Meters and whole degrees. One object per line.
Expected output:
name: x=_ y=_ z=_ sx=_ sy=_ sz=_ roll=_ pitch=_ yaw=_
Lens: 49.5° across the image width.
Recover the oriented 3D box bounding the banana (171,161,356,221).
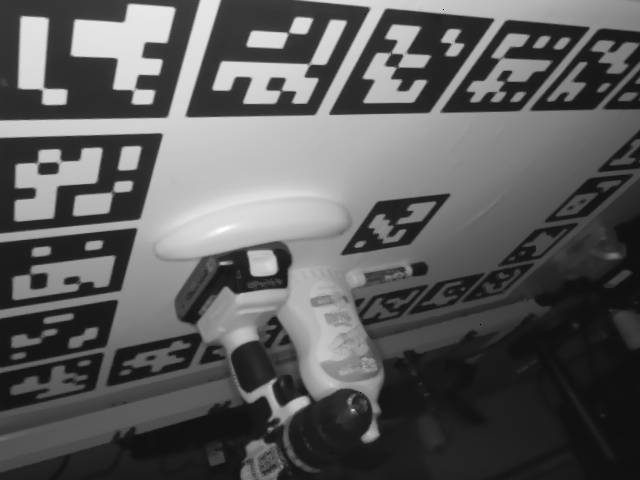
banana: x=-0.037 y=-0.045 z=0.628 sx=0.200 sy=0.039 sz=0.073 roll=0 pitch=139 yaw=-40

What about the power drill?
power drill: x=-0.043 y=0.084 z=0.632 sx=0.058 sy=0.187 sz=0.181 roll=9 pitch=137 yaw=-41

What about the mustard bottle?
mustard bottle: x=0.017 y=0.105 z=0.741 sx=0.098 sy=0.191 sz=0.057 roll=5 pitch=138 yaw=-40

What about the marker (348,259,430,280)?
marker: x=0.089 y=0.036 z=0.860 sx=0.123 sy=0.019 sz=0.019 roll=-3 pitch=142 yaw=-34
